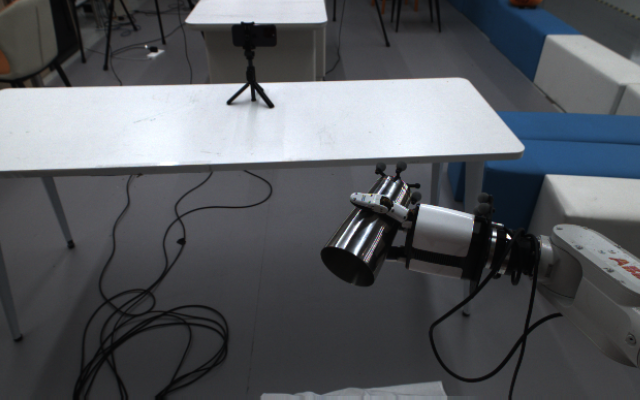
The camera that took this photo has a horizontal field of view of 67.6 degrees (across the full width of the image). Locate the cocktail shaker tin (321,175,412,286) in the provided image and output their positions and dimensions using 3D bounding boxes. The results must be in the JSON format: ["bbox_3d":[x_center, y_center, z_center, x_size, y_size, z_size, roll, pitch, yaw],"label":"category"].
[{"bbox_3d":[0.084,0.036,0.761,0.093,0.093,0.170,19,55,23],"label":"cocktail shaker tin"}]
